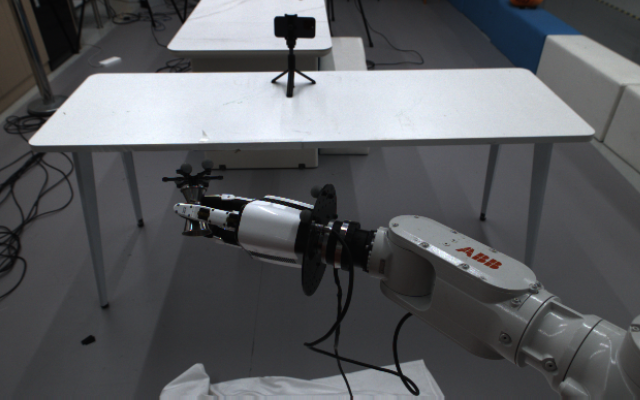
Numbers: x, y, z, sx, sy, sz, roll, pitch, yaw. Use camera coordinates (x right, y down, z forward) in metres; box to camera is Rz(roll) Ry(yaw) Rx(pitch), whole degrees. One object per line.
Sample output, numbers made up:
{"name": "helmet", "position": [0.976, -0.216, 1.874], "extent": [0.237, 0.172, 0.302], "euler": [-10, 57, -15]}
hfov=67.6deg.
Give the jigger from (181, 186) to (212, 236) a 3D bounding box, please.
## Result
{"name": "jigger", "position": [-0.185, 0.018, 0.722], "extent": [0.043, 0.043, 0.071], "euler": [-5, 77, -11]}
